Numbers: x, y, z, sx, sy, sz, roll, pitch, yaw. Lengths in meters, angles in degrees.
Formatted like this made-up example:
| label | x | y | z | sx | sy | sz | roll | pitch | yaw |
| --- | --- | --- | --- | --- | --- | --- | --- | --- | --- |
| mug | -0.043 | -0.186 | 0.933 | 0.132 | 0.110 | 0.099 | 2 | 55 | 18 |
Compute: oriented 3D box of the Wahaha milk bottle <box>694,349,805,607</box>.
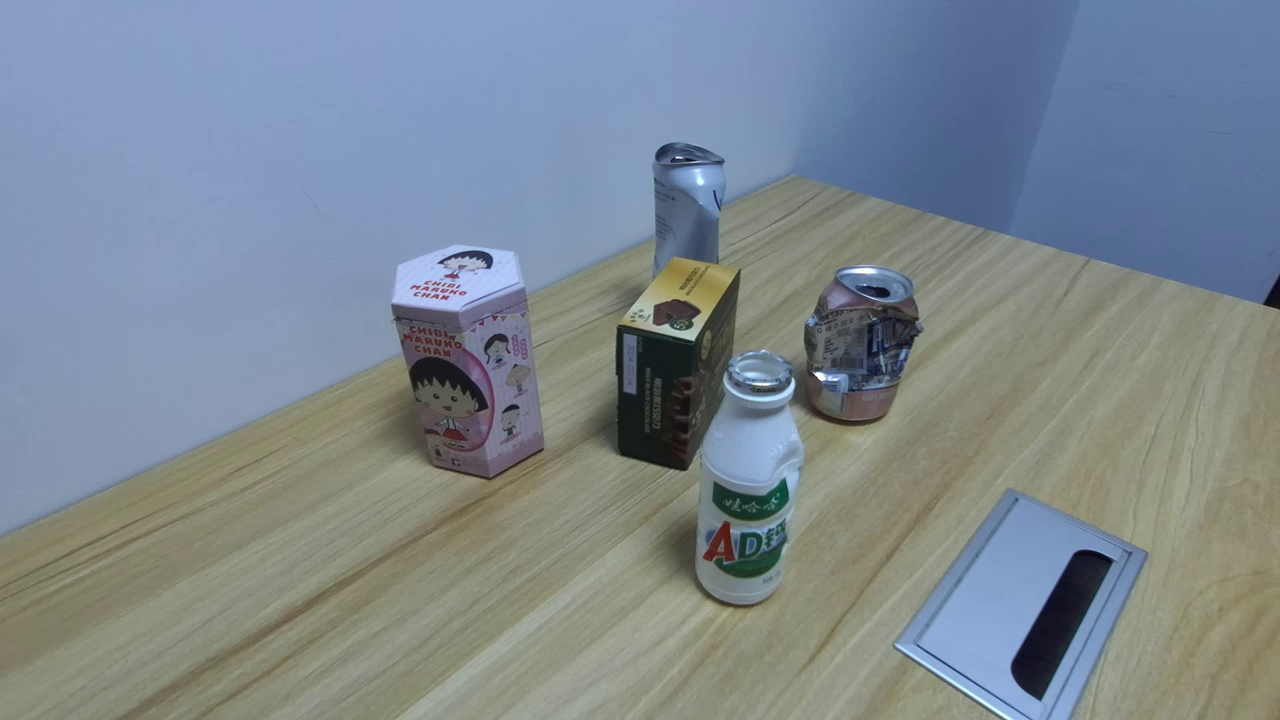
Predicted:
| label | x | y | z | sx | sy | sz | roll | pitch | yaw |
| --- | --- | --- | --- | --- | --- | --- | --- | --- | --- |
| Wahaha milk bottle | 0.058 | 0.070 | 0.376 | 0.053 | 0.137 | 0.053 | 0 | 33 | 0 |

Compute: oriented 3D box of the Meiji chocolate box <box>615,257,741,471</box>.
| label | x | y | z | sx | sy | sz | roll | pitch | yaw |
| --- | --- | --- | --- | --- | --- | --- | --- | --- | --- |
| Meiji chocolate box | 0.028 | 0.000 | 0.502 | 0.056 | 0.109 | 0.110 | 13 | 37 | 18 |

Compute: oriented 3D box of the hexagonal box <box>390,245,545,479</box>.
| label | x | y | z | sx | sy | sz | roll | pitch | yaw |
| --- | --- | --- | --- | --- | --- | --- | --- | --- | --- |
| hexagonal box | -0.113 | 0.003 | 0.480 | 0.091 | 0.136 | 0.084 | 9 | 35 | 14 |

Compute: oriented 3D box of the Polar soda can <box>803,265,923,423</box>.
| label | x | y | z | sx | sy | sz | roll | pitch | yaw |
| --- | --- | --- | --- | --- | --- | --- | --- | --- | --- |
| Polar soda can | 0.162 | -0.011 | 0.517 | 0.070 | 0.114 | 0.074 | 24 | 43 | 24 |

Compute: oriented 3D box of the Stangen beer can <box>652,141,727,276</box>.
| label | x | y | z | sx | sy | sz | roll | pitch | yaw |
| --- | --- | --- | --- | --- | --- | --- | --- | --- | --- |
| Stangen beer can | 0.038 | -0.094 | 0.589 | 0.077 | 0.162 | 0.066 | 17 | 40 | 22 |
